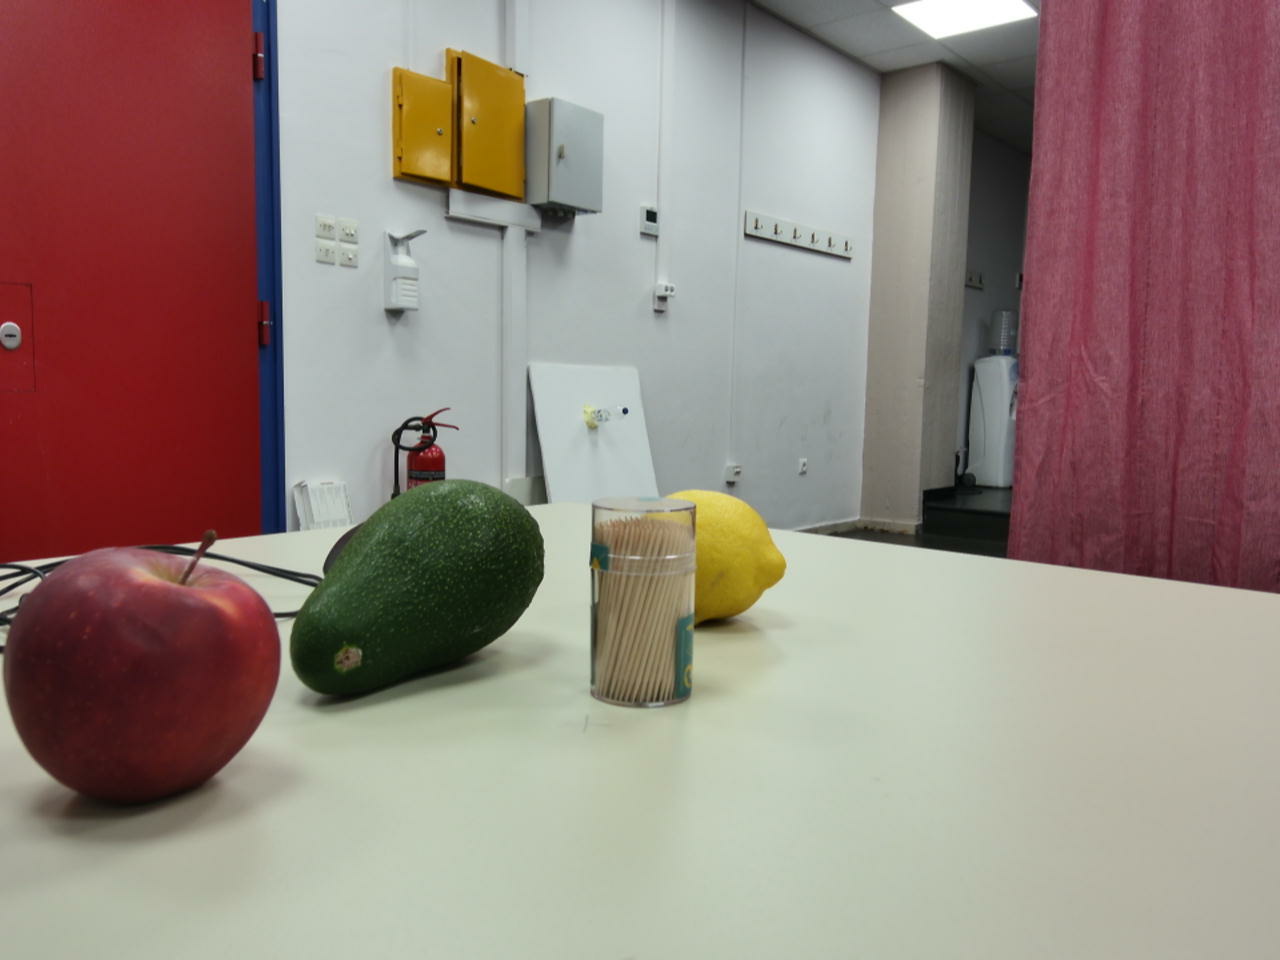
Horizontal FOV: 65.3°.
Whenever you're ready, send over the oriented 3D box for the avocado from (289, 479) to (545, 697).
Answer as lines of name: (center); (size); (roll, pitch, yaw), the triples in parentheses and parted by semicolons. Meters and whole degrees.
avocado: (-0.093, 0.039, 0.411); (0.123, 0.076, 0.074); (-2, 5, -44)
